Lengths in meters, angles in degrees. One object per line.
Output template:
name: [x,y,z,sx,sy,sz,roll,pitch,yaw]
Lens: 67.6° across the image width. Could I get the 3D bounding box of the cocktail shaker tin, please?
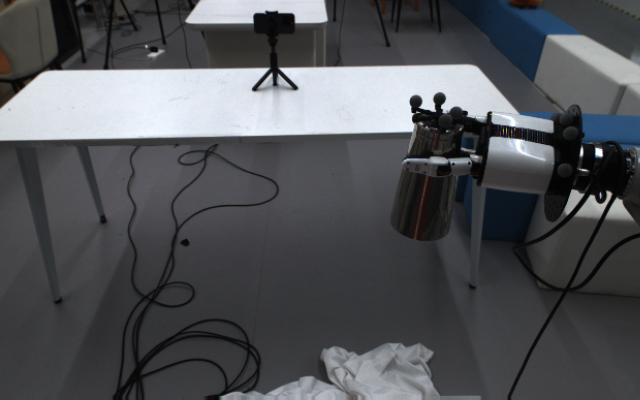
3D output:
cocktail shaker tin: [0.161,-0.039,0.710,0.093,0.170,0.093,3,33,-2]
